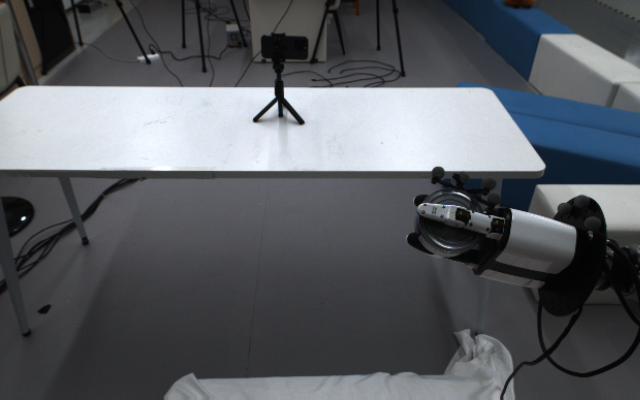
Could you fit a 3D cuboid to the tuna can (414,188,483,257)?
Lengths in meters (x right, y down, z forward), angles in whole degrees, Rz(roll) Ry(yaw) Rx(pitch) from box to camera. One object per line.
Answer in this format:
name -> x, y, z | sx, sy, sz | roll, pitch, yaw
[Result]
tuna can -> 0.169, 0.027, 0.628 | 0.085, 0.034, 0.085 | 0, 71, 0
